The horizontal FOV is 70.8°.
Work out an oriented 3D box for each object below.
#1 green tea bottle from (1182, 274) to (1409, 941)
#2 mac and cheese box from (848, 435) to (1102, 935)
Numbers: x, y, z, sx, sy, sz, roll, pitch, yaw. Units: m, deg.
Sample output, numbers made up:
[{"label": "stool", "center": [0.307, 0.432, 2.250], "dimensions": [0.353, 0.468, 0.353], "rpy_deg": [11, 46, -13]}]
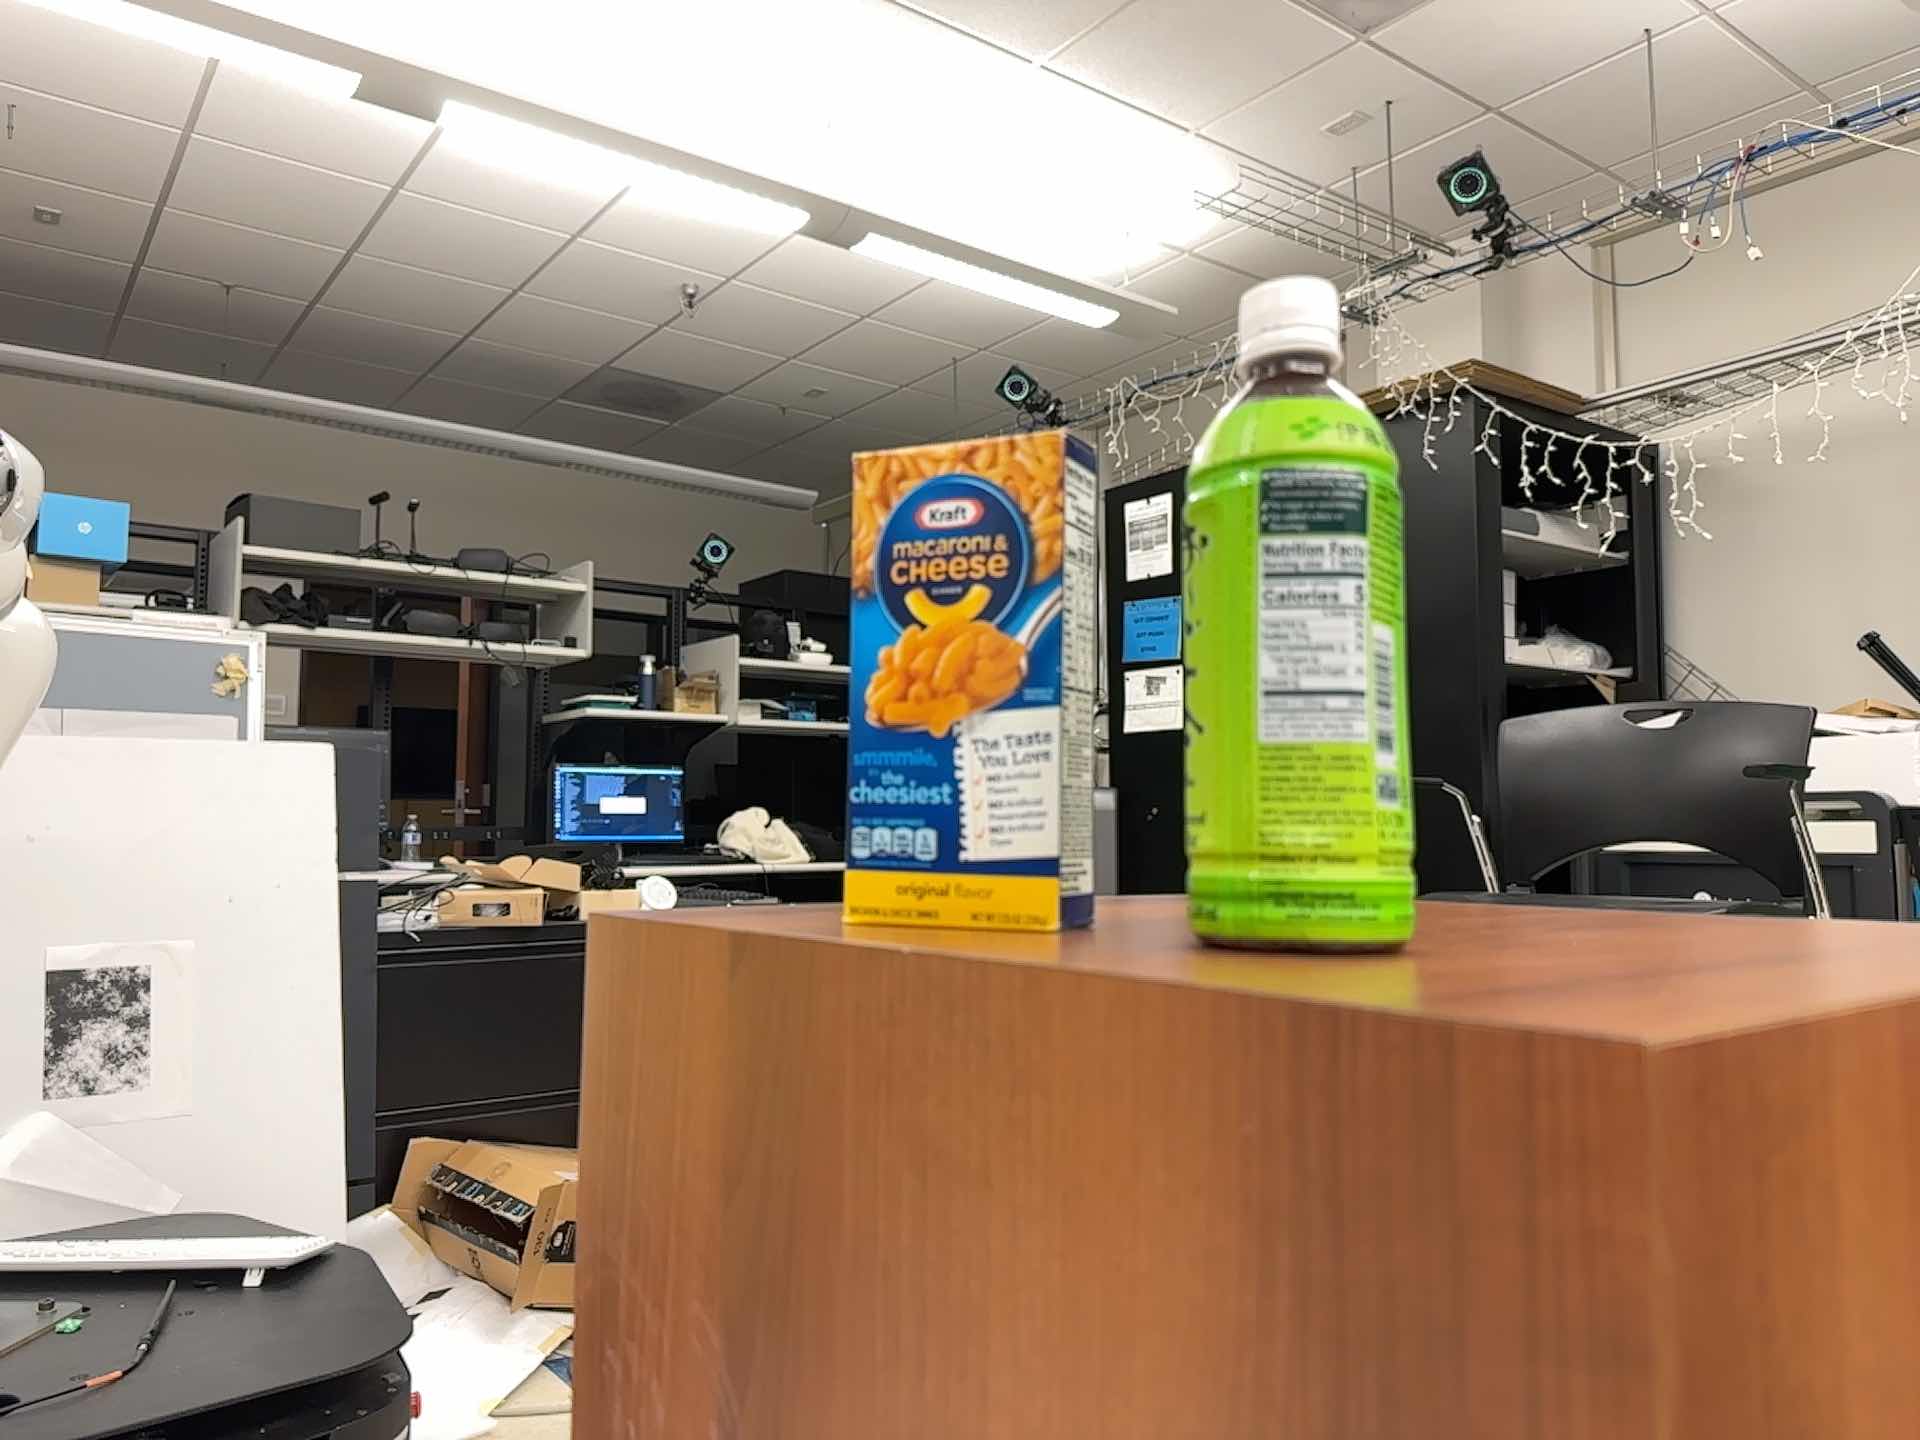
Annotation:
[{"label": "green tea bottle", "center": [0.107, -0.037, 0.433], "dimensions": [0.073, 0.212, 0.073], "rpy_deg": [3, -6, 0]}, {"label": "mac and cheese box", "center": [0.006, -0.010, 0.520], "dimensions": [0.088, 0.181, 0.035], "rpy_deg": [-4, -8, 29]}]
